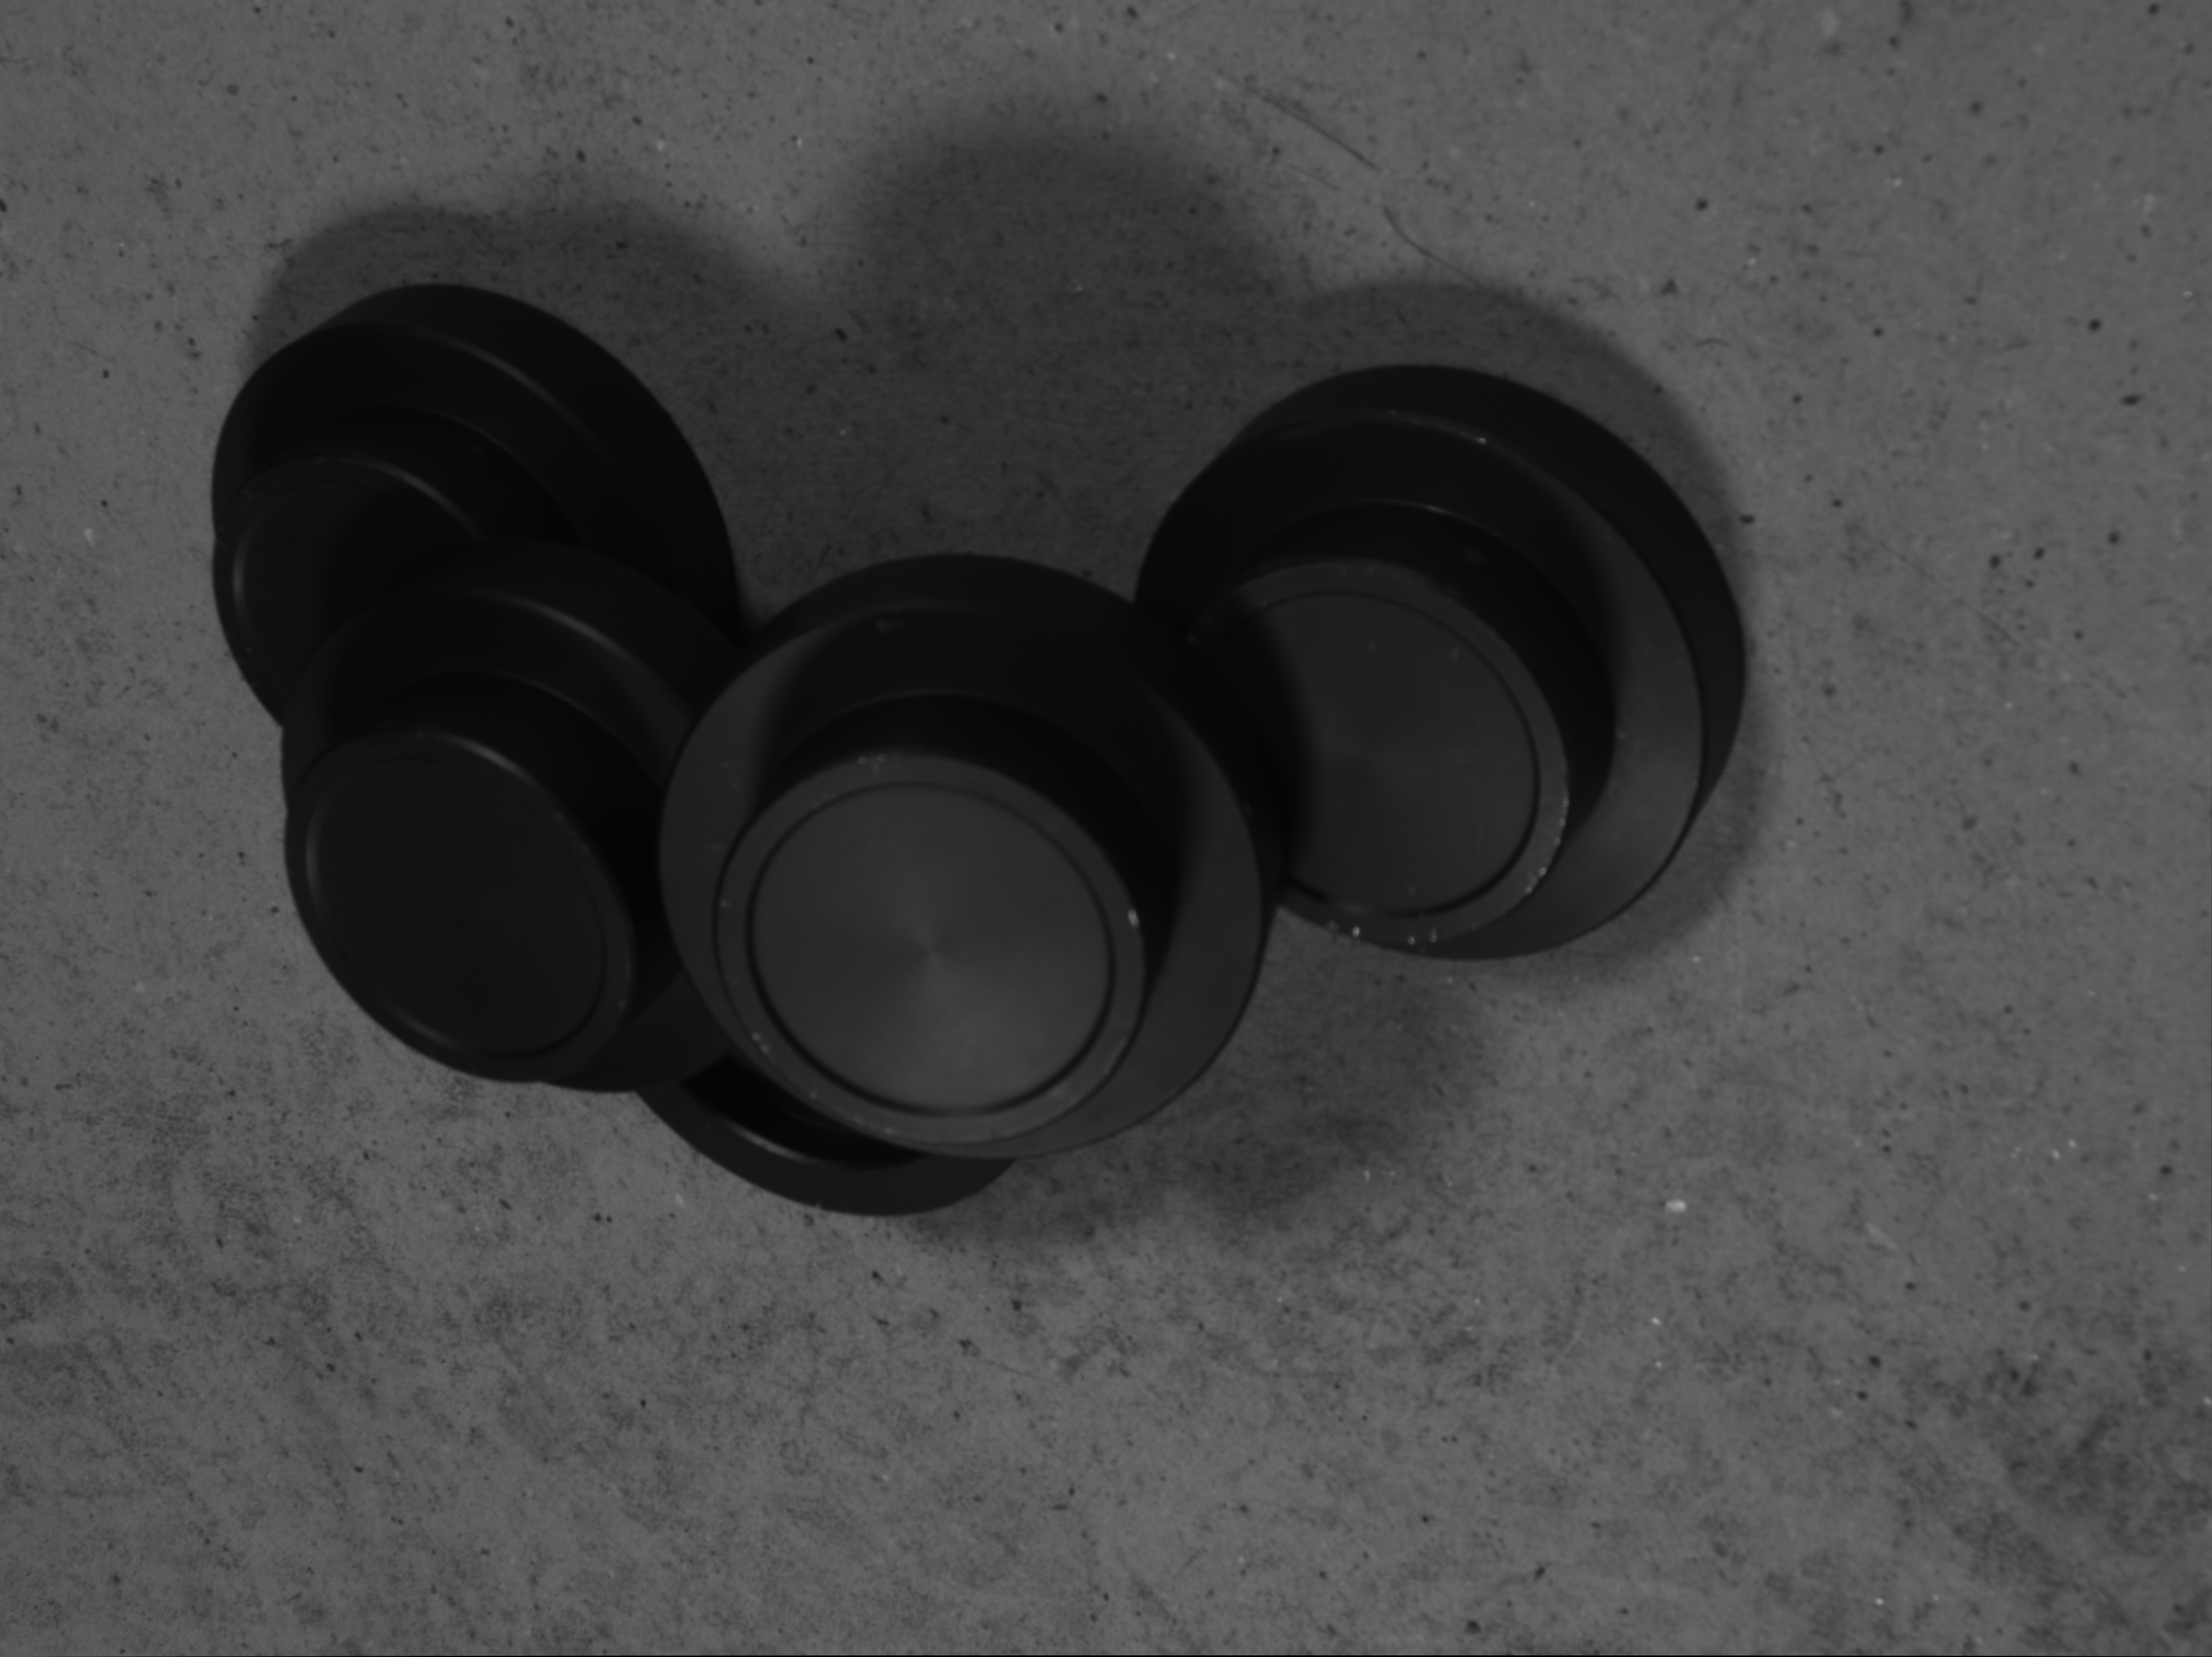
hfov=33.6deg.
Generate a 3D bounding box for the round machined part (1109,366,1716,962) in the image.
[{"bbox_3d":[0.044,-0.021,0.585,0.098,0.042,0.098,12,123,20],"label":"round machined part"}]

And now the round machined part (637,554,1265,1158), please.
[{"bbox_3d":[-0.027,0.010,0.573,0.098,0.042,0.098,5,117,10],"label":"round machined part"}]

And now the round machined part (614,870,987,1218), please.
[{"bbox_3d":[-0.050,0.018,0.656,0.098,0.042,0.098,12,123,20],"label":"round machined part"}]

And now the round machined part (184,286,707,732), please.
[{"bbox_3d":[-0.124,-0.044,0.656,0.098,0.042,0.098,12,123,20],"label":"round machined part"}]

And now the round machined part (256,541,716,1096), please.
[{"bbox_3d":[-0.103,0.004,0.621,0.098,0.042,0.098,12,123,20],"label":"round machined part"}]
